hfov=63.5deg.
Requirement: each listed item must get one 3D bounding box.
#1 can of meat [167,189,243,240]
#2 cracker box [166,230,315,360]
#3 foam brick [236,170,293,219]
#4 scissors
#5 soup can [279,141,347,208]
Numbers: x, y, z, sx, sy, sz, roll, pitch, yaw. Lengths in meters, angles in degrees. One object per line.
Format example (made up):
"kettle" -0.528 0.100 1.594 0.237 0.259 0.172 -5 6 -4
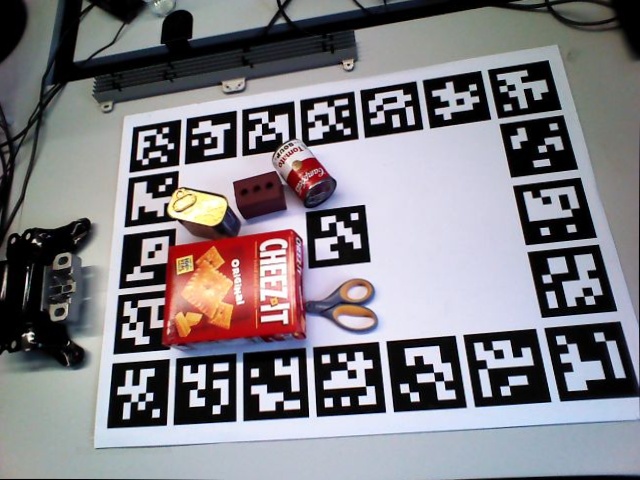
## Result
"can of meat" -0.187 -0.040 0.861 0.102 0.084 0.057 6 73 13
"cracker box" -0.128 0.083 0.799 0.214 0.072 0.163 -13 68 11
"foam brick" -0.092 -0.076 0.874 0.078 0.051 0.052 -17 69 5
"scissors" -0.006 0.111 0.798 0.203 0.016 0.087 -12 70 8
"soup can" -0.014 -0.112 0.869 0.068 0.068 0.102 -42 63 -5
